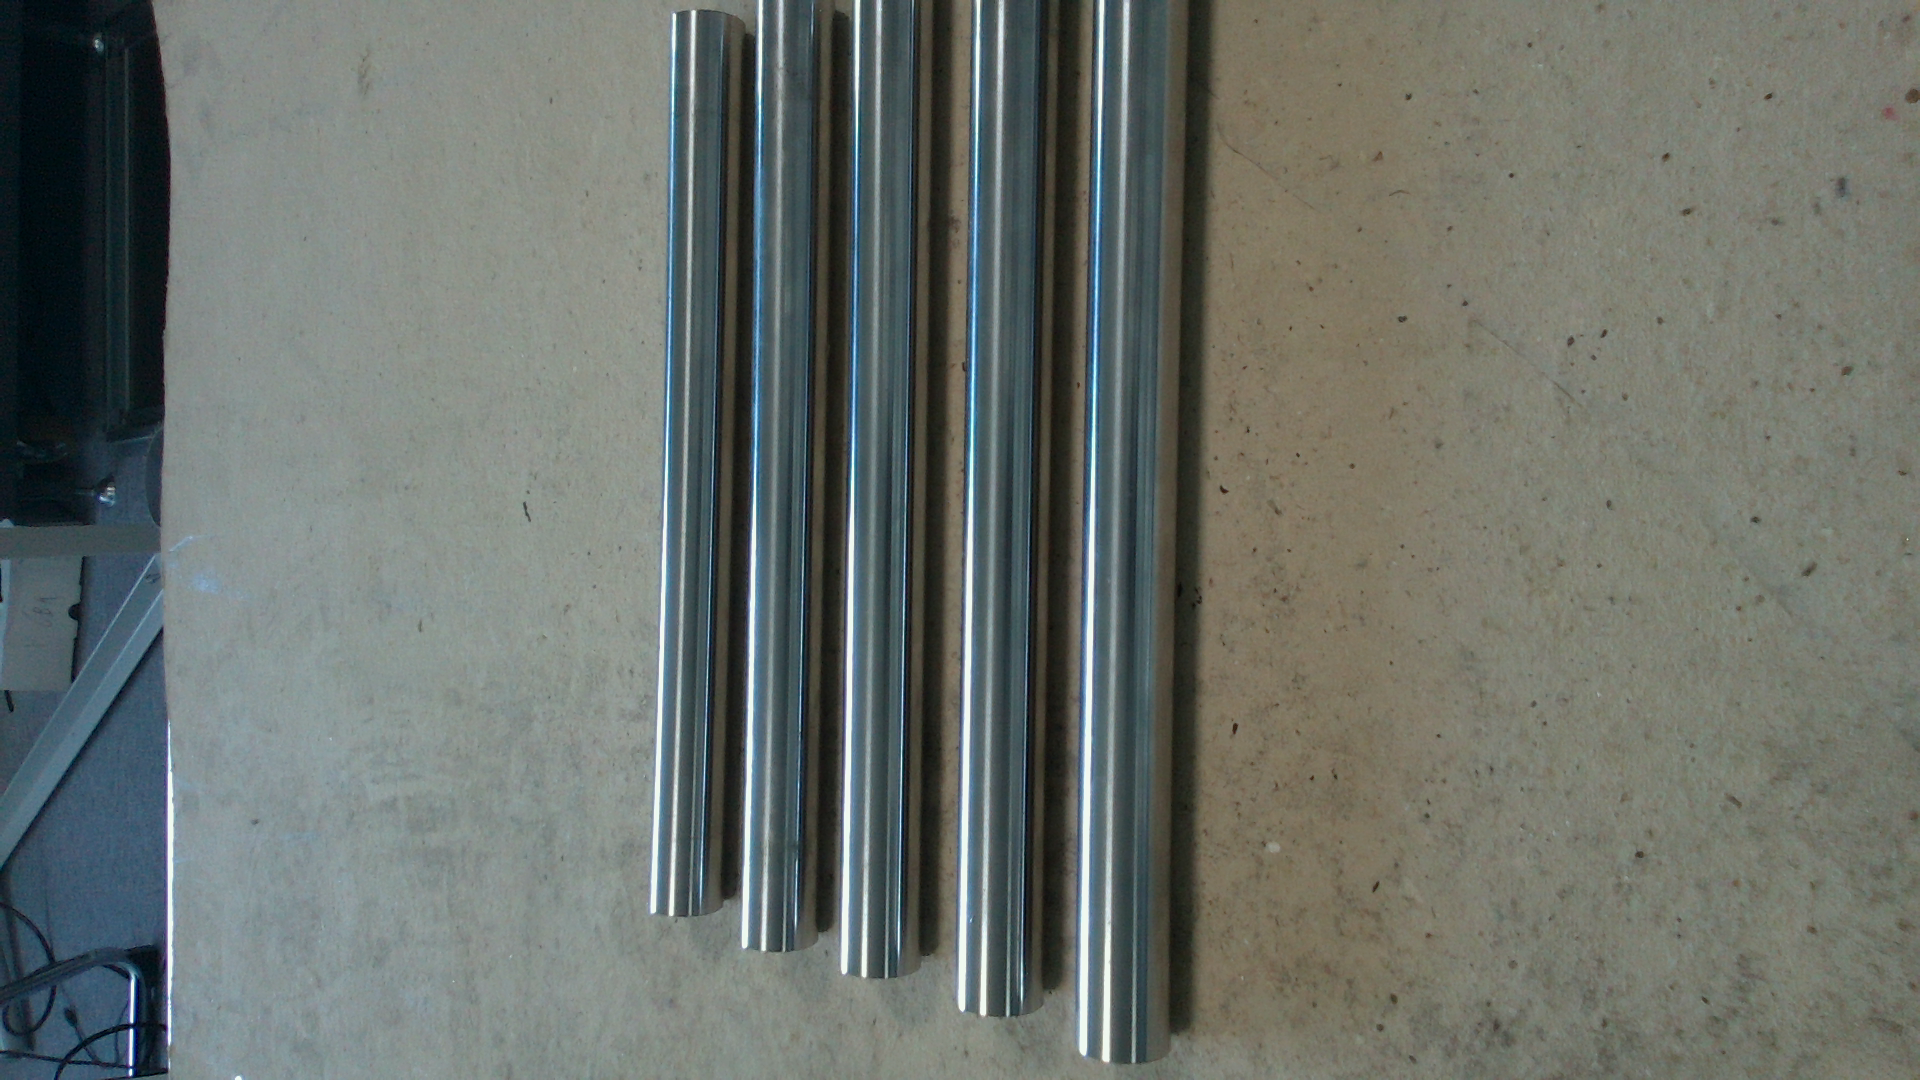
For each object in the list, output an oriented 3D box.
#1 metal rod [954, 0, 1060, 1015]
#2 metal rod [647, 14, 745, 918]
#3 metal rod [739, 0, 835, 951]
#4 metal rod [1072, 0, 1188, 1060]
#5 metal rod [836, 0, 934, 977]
[{"bbox_3d":[0.013,-0.021,0.384,0.025,0.025,0.300,2,91,40],"label":"metal rod"},{"bbox_3d":[-0.090,-0.024,0.469,0.025,0.025,0.300,3,92,40],"label":"metal rod"},{"bbox_3d":[-0.056,-0.021,0.441,0.025,0.025,0.300,2,91,40],"label":"metal rod"},{"bbox_3d":[0.044,-0.019,0.358,0.025,0.025,0.300,2,91,40],"label":"metal rod"},{"bbox_3d":[-0.022,-0.022,0.414,0.025,0.025,0.300,2,91,40],"label":"metal rod"}]
